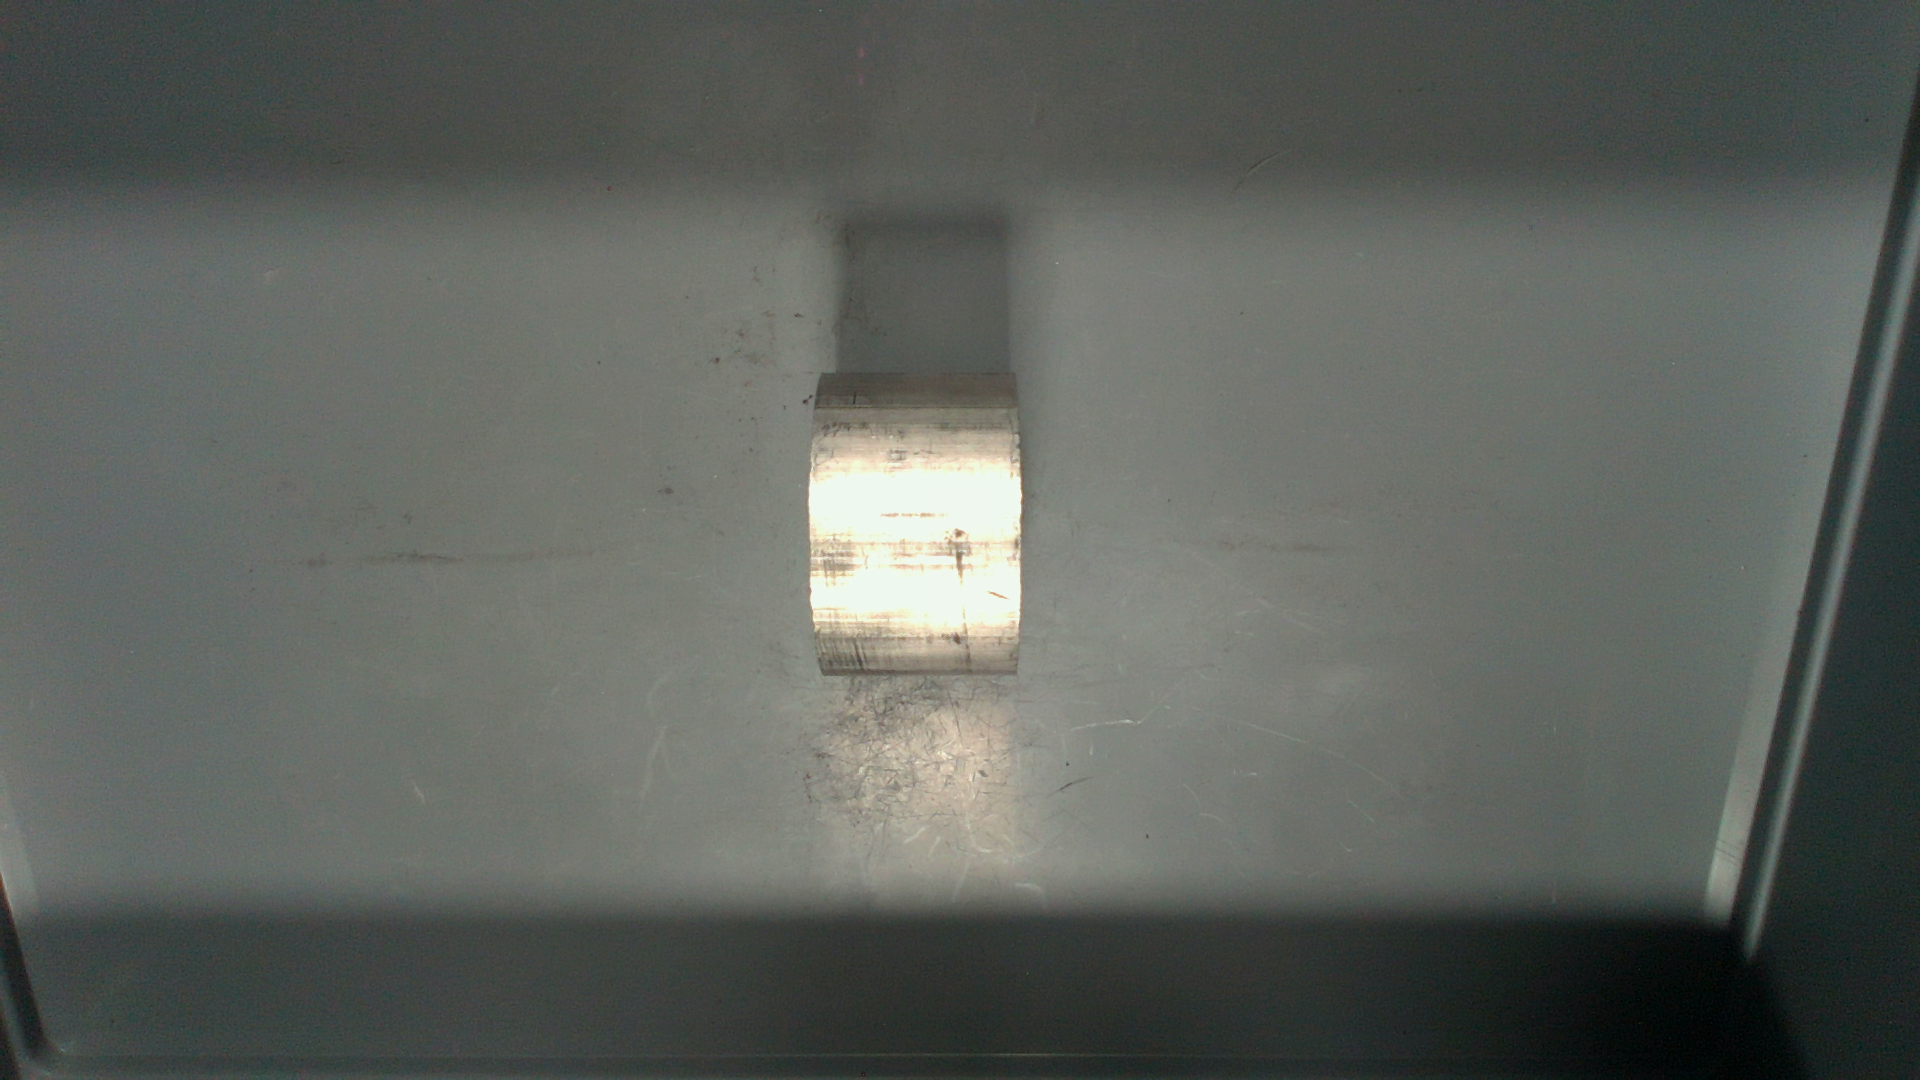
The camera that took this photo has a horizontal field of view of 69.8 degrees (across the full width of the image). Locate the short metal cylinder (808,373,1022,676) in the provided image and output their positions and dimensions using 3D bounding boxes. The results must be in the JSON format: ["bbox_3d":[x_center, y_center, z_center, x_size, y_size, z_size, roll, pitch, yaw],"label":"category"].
[{"bbox_3d":[-0.010,-0.004,0.361,0.050,0.080,0.080,0,110,0],"label":"short metal cylinder"}]
